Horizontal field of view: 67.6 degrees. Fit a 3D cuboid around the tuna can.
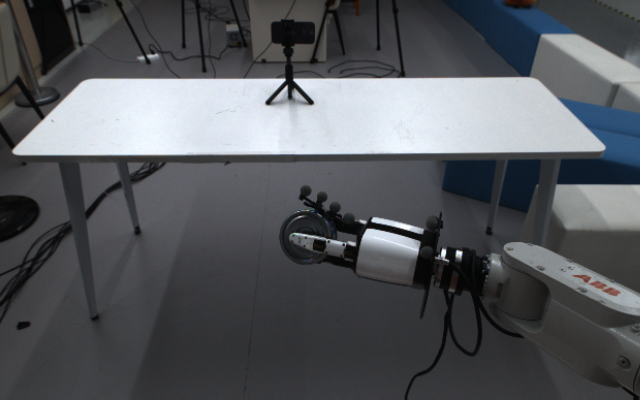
[{"bbox_3d":[-0.017,0.056,0.744,0.085,0.085,0.034,12,4,15],"label":"tuna can"}]
